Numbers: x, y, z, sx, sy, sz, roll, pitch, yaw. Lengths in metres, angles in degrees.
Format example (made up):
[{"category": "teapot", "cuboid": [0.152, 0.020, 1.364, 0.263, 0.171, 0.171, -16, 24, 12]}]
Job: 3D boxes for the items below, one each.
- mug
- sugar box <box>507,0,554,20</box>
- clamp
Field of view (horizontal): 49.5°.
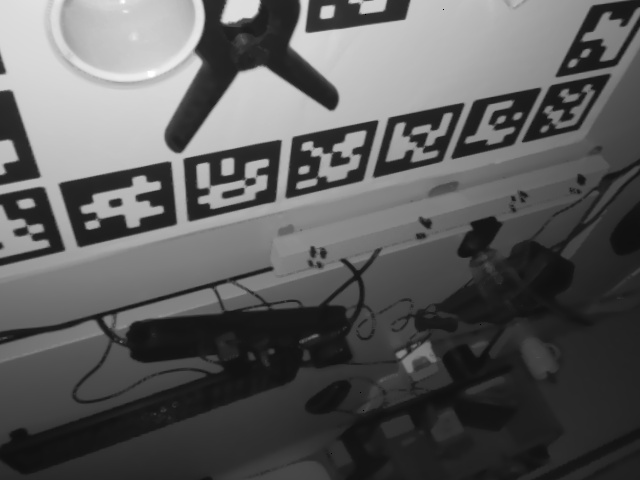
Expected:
[{"category": "mug", "cuboid": [-0.106, -0.174, 0.479, 0.093, 0.081, 0.117, -29, 150, 4]}, {"category": "sugar box", "cuboid": [0.183, -0.268, 0.575, 0.092, 0.045, 0.177, -35, 152, 12]}, {"category": "clamp", "cuboid": [-0.044, -0.161, 0.596, 0.167, 0.036, 0.201, -20, 145, -11]}]
